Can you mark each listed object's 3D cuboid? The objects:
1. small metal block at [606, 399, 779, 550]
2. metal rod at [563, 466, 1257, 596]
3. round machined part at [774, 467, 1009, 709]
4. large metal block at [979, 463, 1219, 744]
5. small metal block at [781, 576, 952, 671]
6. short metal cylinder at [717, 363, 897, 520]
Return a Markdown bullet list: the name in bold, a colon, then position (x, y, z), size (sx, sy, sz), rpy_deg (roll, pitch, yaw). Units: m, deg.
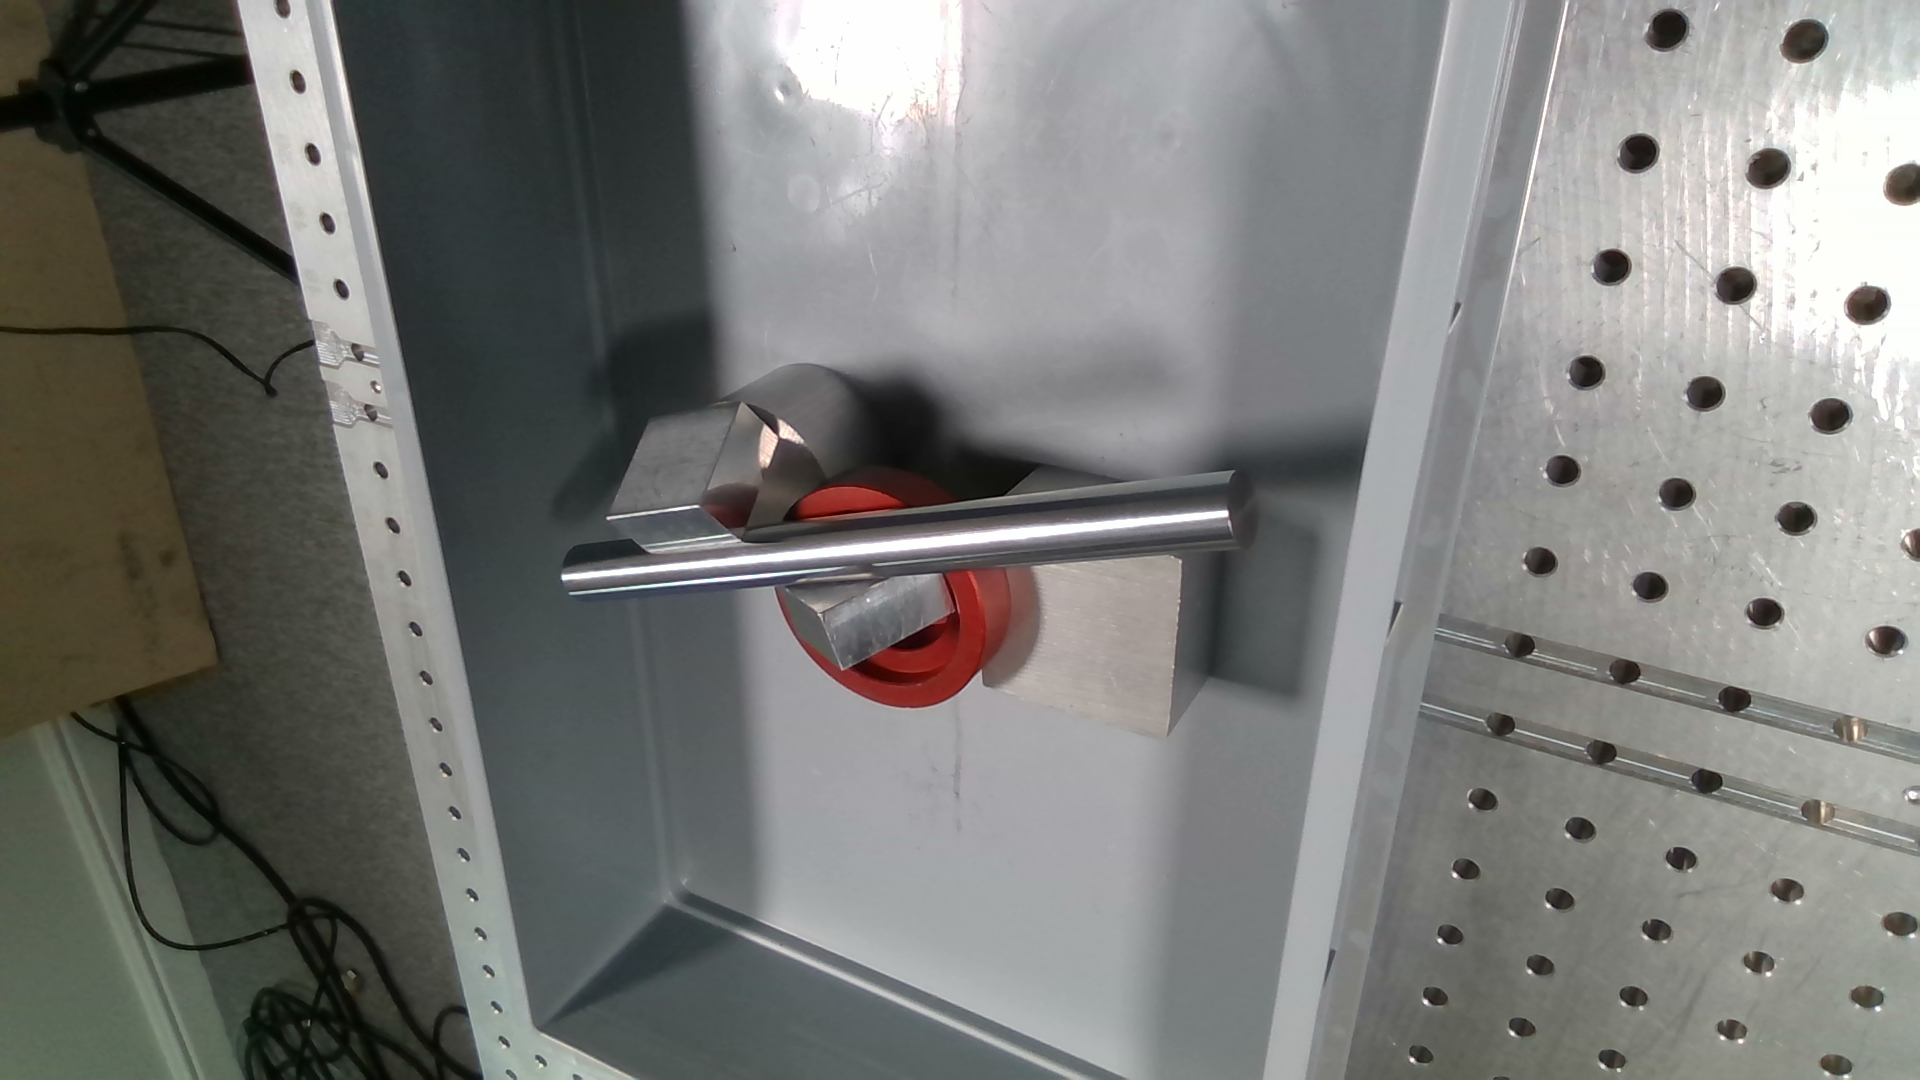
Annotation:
- **small metal block**: position (-0.106, -0.025, 0.546), size (0.050, 0.050, 0.025), rpy_deg (-5, 145, 33)
- **metal rod**: position (-0.037, 0.001, 0.512), size (0.300, 0.025, 0.025), rpy_deg (-5, 112, 33)
- **round machined part**: position (-0.024, 0.015, 0.553), size (0.098, 0.042, 0.098), rpy_deg (14, 122, 25)
- **large metal block**: position (0.054, 0.023, 0.540), size (0.080, 0.050, 0.080), rpy_deg (14, 122, 25)
- **small metal block**: position (-0.037, 0.021, 0.535), size (0.050, 0.050, 0.025), rpy_deg (27, 140, 62)
- **short metal cylinder**: position (-0.074, -0.031, 0.592), size (0.080, 0.050, 0.080), rpy_deg (14, 122, 25)
